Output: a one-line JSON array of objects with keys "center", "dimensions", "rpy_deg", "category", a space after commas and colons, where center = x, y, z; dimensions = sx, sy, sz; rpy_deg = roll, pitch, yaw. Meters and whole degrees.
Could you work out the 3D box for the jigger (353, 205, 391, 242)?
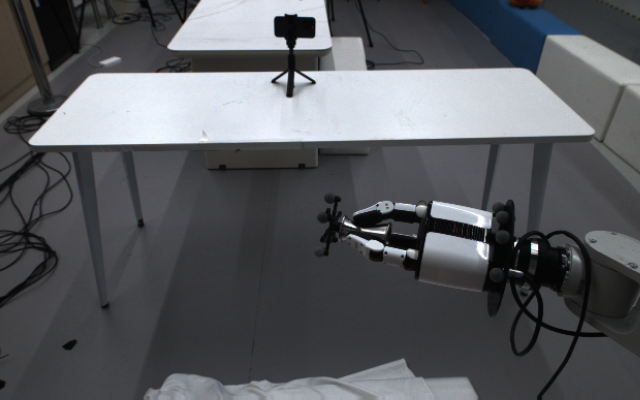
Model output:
[{"center": [0.071, 0.045, 0.695], "dimensions": [0.071, 0.043, 0.043], "rpy_deg": [11, 36, 15], "category": "jigger"}]
